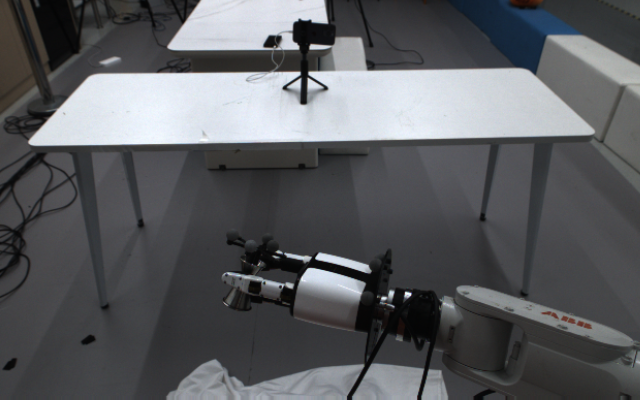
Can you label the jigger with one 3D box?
[{"bbox_3d":[-0.106,0.114,0.676,0.043,0.071,0.043,22,6,-2],"label":"jigger"}]
